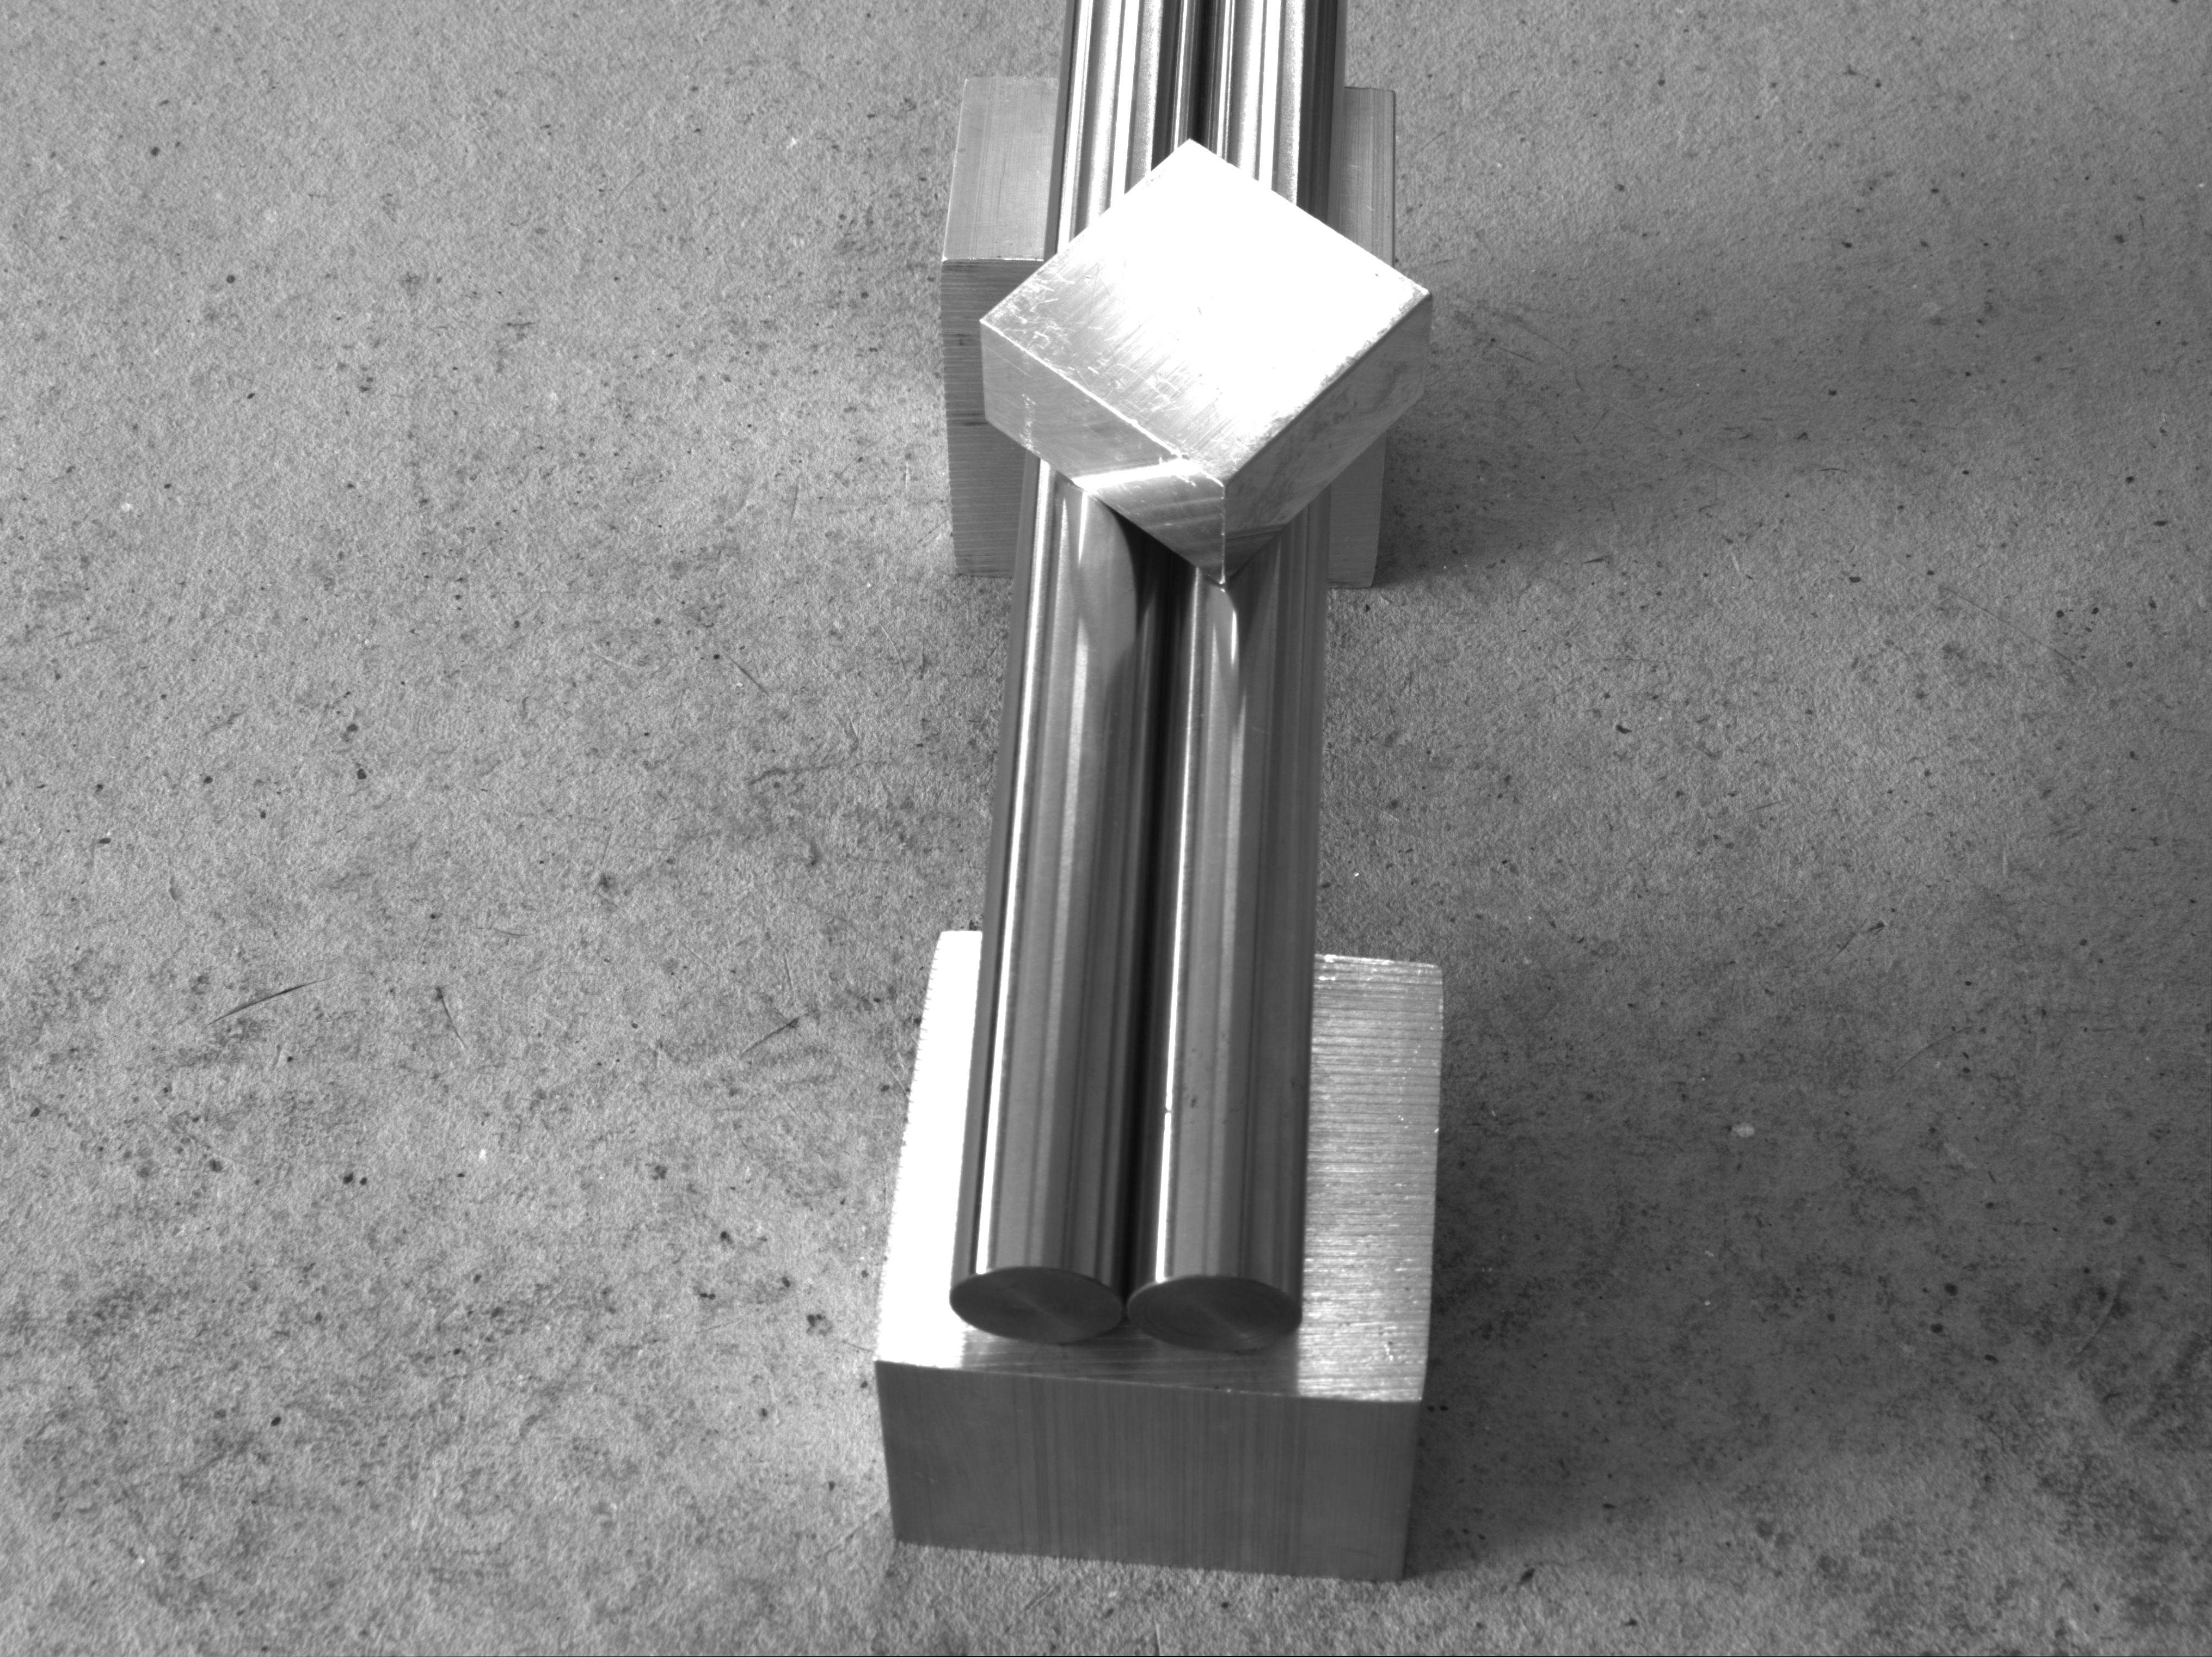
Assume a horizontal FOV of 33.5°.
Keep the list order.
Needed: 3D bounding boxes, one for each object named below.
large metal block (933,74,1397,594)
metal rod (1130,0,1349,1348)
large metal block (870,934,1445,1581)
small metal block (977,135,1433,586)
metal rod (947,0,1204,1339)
[{"bbox_3d":[0.012,-0.091,0.684,0.080,0.080,0.050,3,50,2],"label":"large metal block"},{"bbox_3d":[0.025,-0.058,0.596,0.025,0.025,0.300,3,57,2],"label":"metal rod"},{"bbox_3d":[0.010,0.066,0.570,0.080,0.050,0.080,4,50,3],"label":"large metal block"},{"bbox_3d":[0.015,-0.074,0.578,0.050,0.025,0.050,37,64,21],"label":"small metal block"},{"bbox_3d":[-0.001,-0.059,0.597,0.025,0.025,0.300,3,57,2],"label":"metal rod"}]
